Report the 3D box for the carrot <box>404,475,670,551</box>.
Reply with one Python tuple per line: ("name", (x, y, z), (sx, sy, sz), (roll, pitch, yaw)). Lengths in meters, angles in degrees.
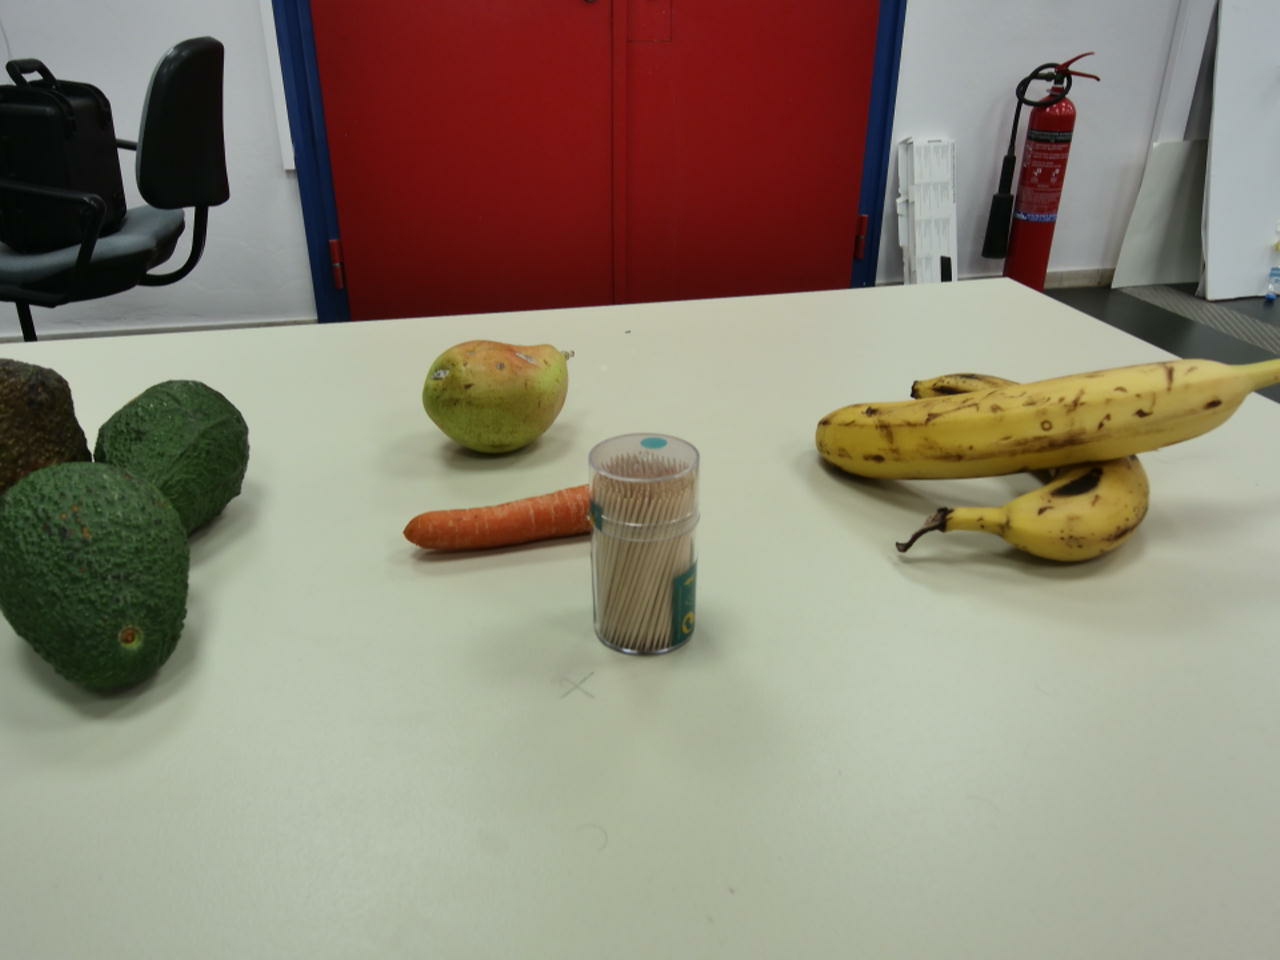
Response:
("carrot", (-0.044, 0.015, 0.451), (0.122, 0.023, 0.024), (-7, 25, -15))
